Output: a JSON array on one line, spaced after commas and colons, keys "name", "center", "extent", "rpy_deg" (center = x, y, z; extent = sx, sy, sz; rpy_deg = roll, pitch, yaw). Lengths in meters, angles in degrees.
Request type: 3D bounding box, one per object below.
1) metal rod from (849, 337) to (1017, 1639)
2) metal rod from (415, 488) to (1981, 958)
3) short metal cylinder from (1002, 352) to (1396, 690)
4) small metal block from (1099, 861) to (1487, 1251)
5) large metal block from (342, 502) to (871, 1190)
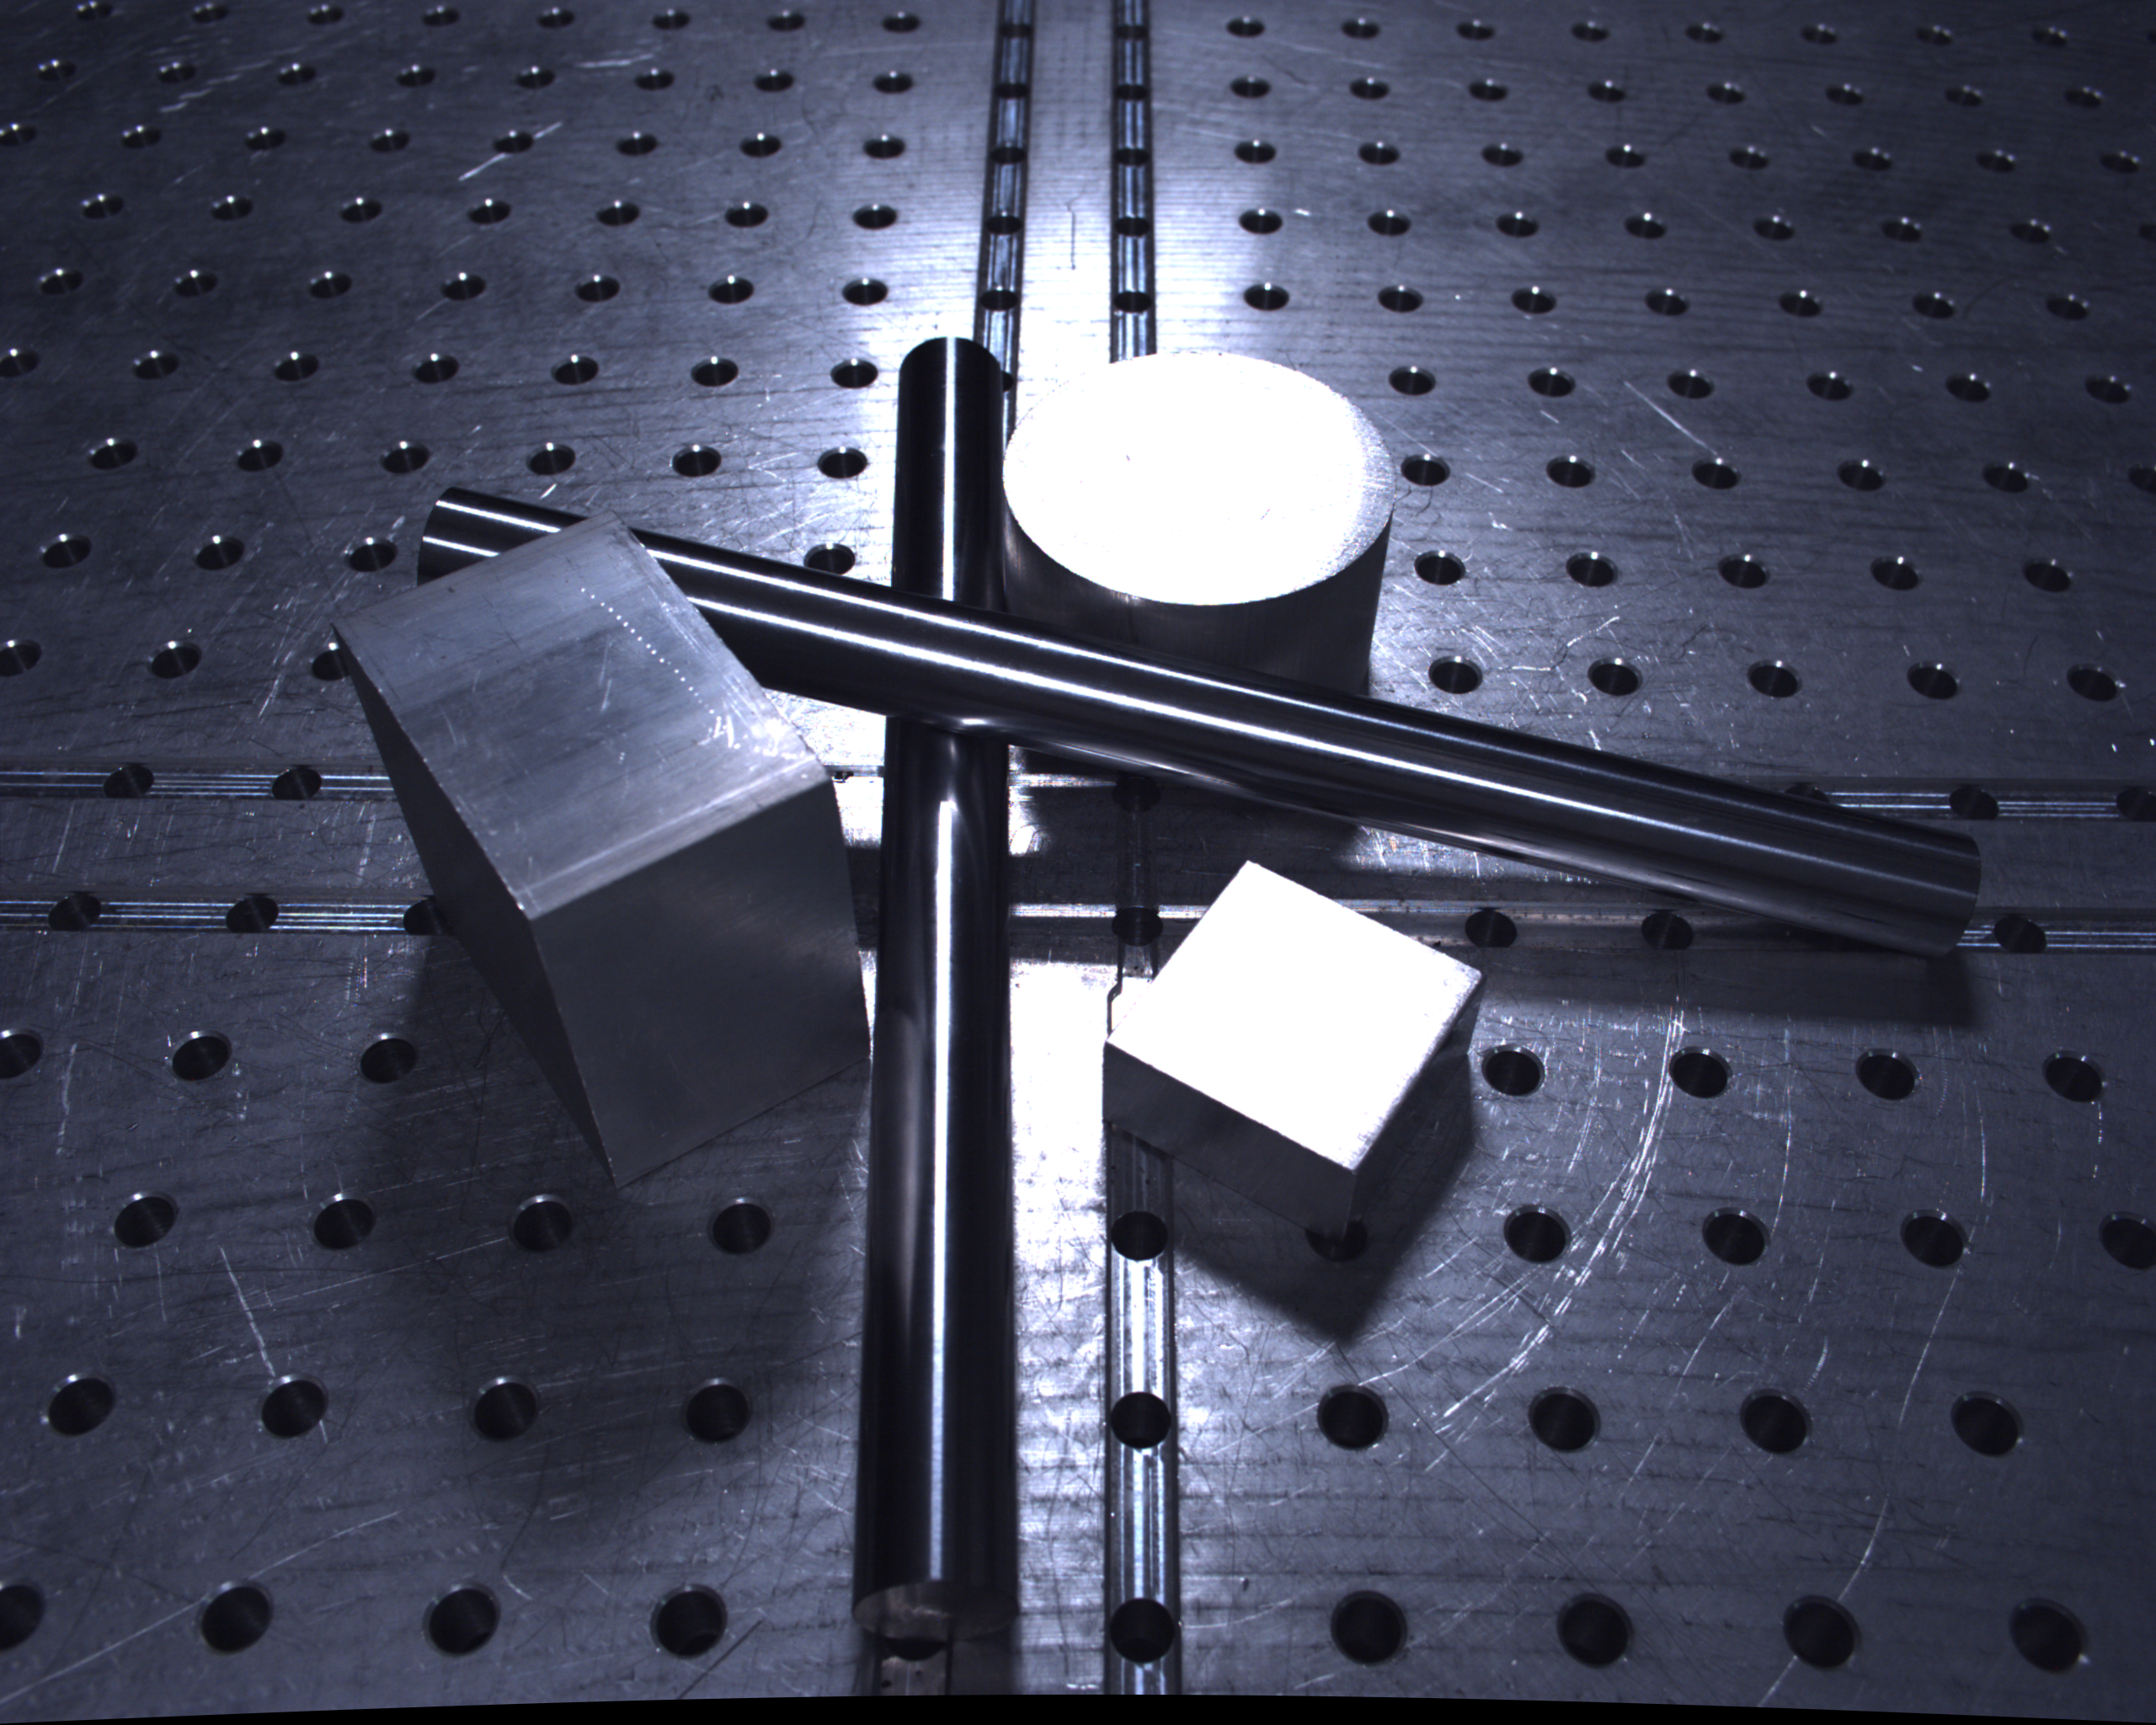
[{"name": "metal rod", "center": [-0.026, -0.002, 0.409], "extent": [0.025, 0.025, 0.300], "rpy_deg": [-1, 50, -1]}, {"name": "metal rod", "center": [0.023, -0.027, 0.406], "extent": [0.302, 0.025, 0.025], "rpy_deg": [13, 51, 0]}, {"name": "short metal cylinder", "center": [0.025, -0.064, 0.445], "extent": [0.081, 0.050, 0.080], "rpy_deg": [0, 50, 0]}, {"name": "small metal block", "center": [0.039, 0.034, 0.380], "extent": [0.050, 0.025, 0.050], "rpy_deg": [27, 55, 20]}, {"name": "large metal block", "center": [-0.081, -0.003, 0.372], "extent": [0.050, 0.080, 0.080], "rpy_deg": [-28, 56, -22]}]
